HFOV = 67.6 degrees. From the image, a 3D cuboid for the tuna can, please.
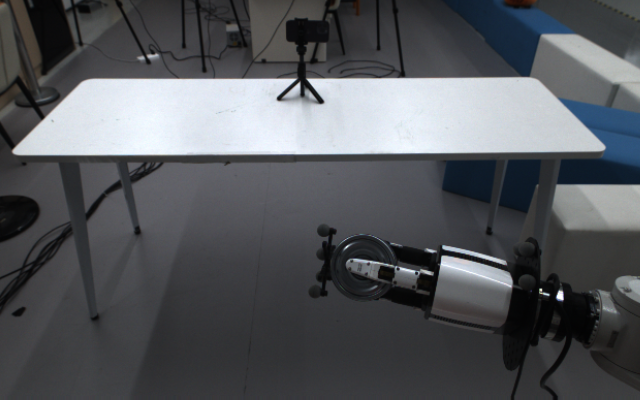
[{"bbox_3d":[0.060,0.088,0.616,0.085,0.085,0.034,9,-6,10],"label":"tuna can"}]
